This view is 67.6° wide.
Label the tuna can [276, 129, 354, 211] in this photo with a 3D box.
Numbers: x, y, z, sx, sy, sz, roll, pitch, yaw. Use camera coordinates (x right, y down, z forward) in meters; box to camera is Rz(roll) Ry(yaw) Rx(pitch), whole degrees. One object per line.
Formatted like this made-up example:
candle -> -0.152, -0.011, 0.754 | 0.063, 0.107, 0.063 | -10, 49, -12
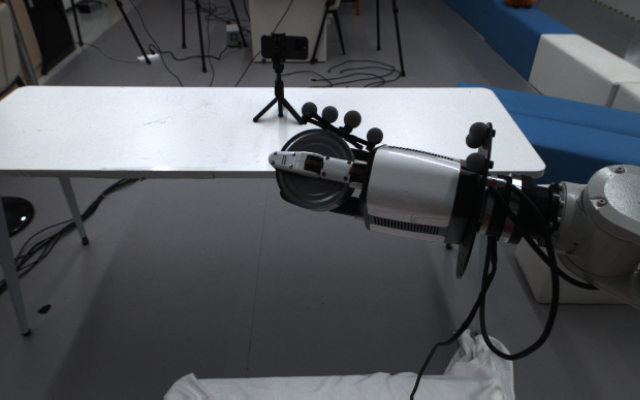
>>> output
tuna can -> 0.001, -0.032, 0.521 | 0.085, 0.085, 0.034 | 13, -6, 16
